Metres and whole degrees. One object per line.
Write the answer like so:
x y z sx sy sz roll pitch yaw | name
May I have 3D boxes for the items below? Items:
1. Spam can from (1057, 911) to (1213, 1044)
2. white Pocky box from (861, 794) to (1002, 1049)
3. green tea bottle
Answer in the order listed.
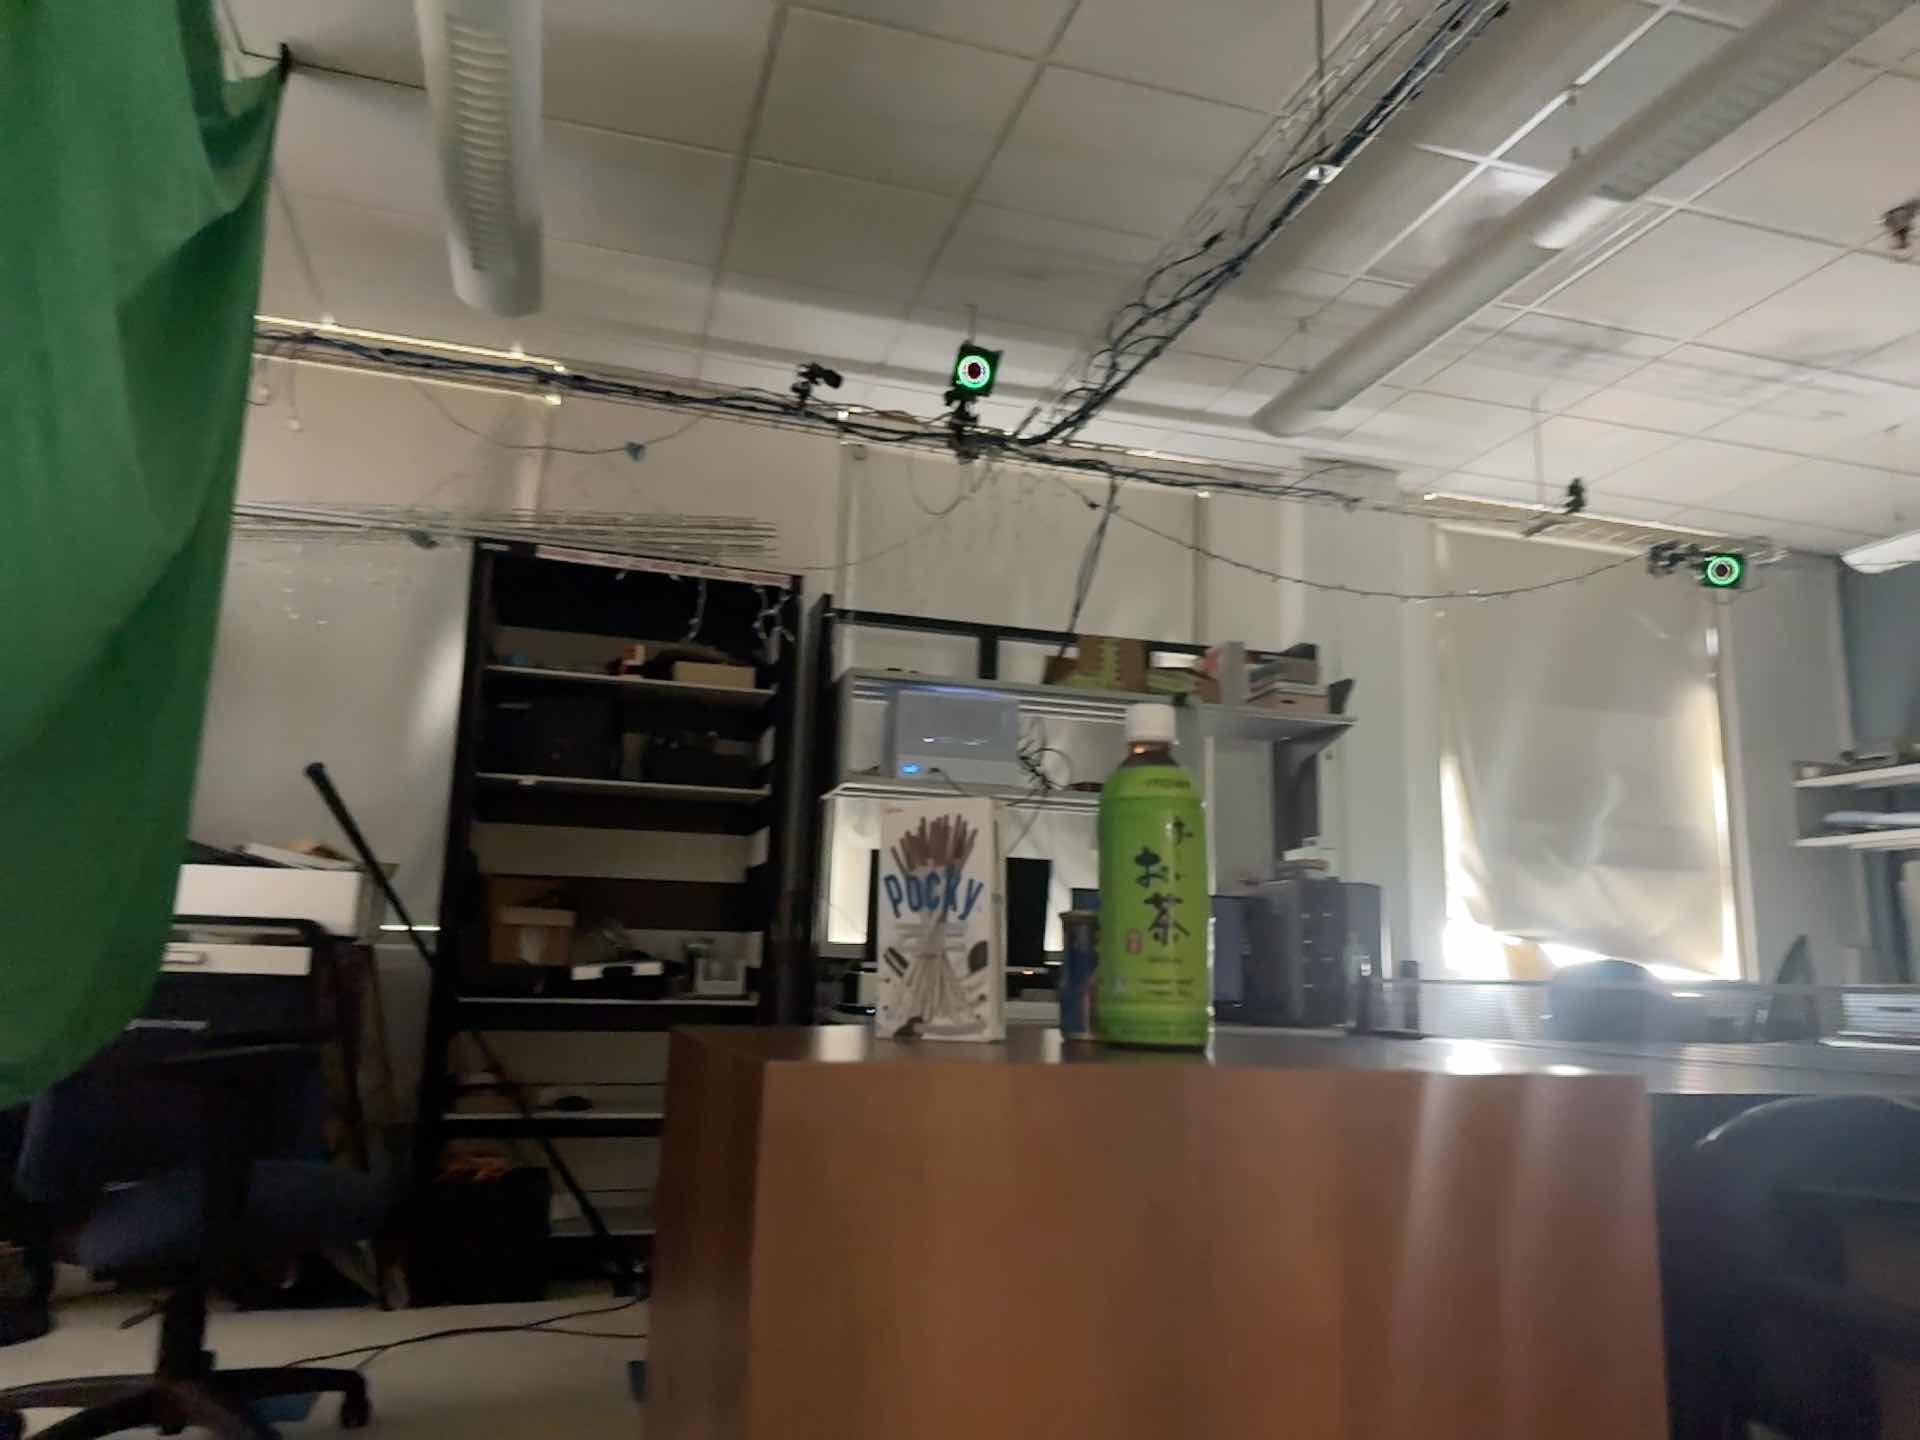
0.116 0.172 0.900 0.100 0.083 0.056 2 -10 -1 | Spam can
-0.017 0.124 0.841 0.084 0.154 0.028 -3 -10 26 | white Pocky box
0.113 0.091 0.816 0.073 0.212 0.073 -2 -9 0 | green tea bottle
